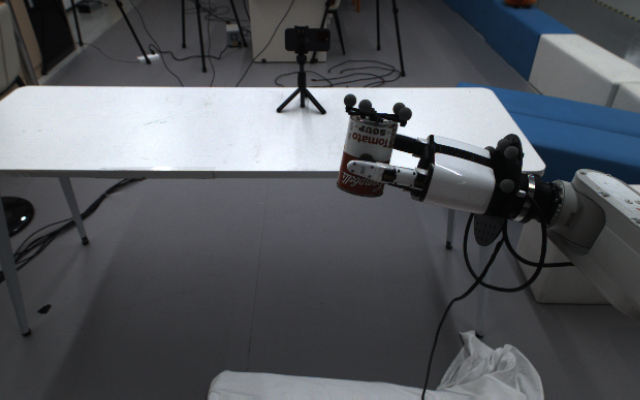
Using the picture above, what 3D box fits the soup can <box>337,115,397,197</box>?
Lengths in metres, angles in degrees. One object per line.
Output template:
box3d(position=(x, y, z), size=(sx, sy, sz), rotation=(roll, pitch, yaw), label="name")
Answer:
box3d(position=(0.066, -0.064, 0.668), size=(0.067, 0.101, 0.067), rotation=(9, 20, -3), label="soup can")
